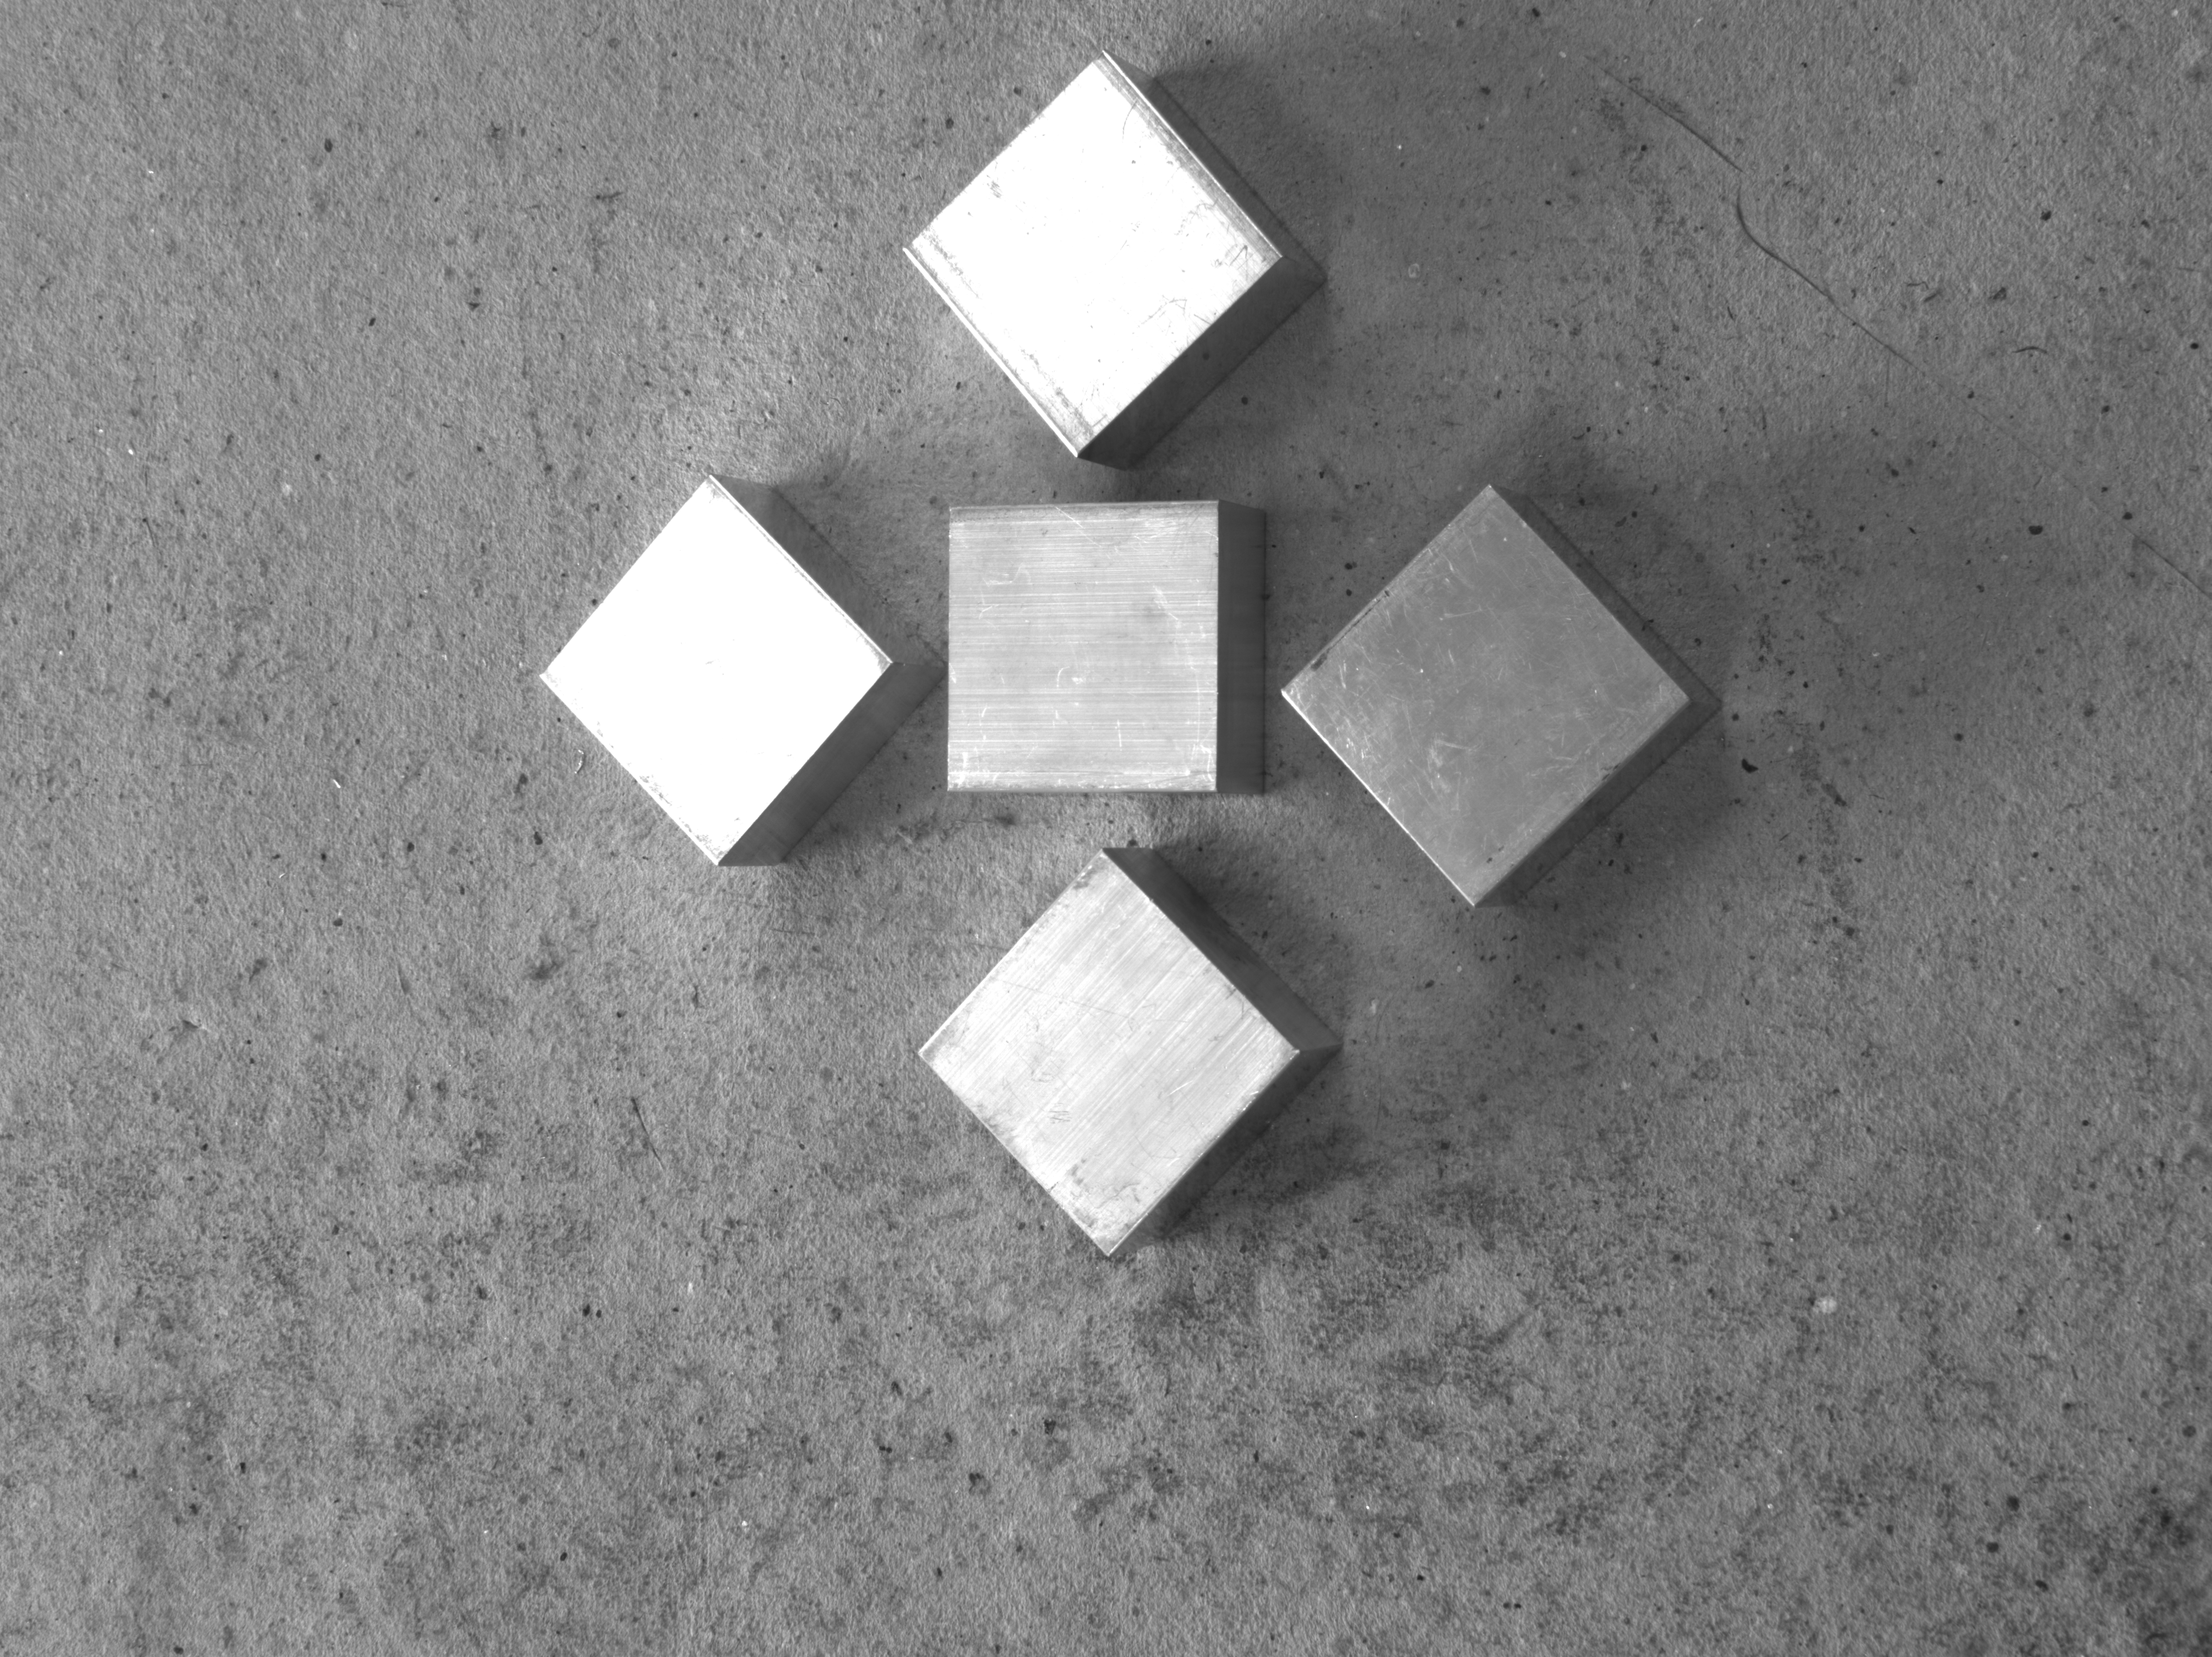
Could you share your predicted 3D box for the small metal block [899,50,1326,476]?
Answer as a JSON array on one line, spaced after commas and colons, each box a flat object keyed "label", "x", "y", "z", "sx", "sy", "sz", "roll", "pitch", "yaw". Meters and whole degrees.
[{"label": "small metal block", "x": 0.001, "y": -0.098, "z": 0.646, "sx": 0.050, "sy": 0.025, "sz": 0.050, "roll": -42, "pitch": 76, "yaw": 14}]

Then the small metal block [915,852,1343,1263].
[{"label": "small metal block", "x": 0.004, "y": 0.039, "z": 0.645, "sx": 0.050, "sy": 0.025, "sz": 0.050, "roll": 46, "pitch": 103, "yaw": 14}]

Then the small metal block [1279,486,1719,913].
[{"label": "small metal block", "x": 0.067, "y": -0.021, "z": 0.623, "sx": 0.050, "sy": 0.025, "sz": 0.050, "roll": -45, "pitch": 76, "yaw": 15}]

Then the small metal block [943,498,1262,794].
[{"label": "small metal block", "x": 0.000, "y": -0.031, "z": 0.646, "sx": 0.050, "sy": 0.025, "sz": 0.050, "roll": 0, "pitch": 90, "yaw": 21}]

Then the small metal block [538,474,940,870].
[{"label": "small metal block", "x": -0.066, "y": -0.028, "z": 0.671, "sx": 0.050, "sy": 0.025, "sz": 0.050, "roll": 45, "pitch": 103, "yaw": 14}]
